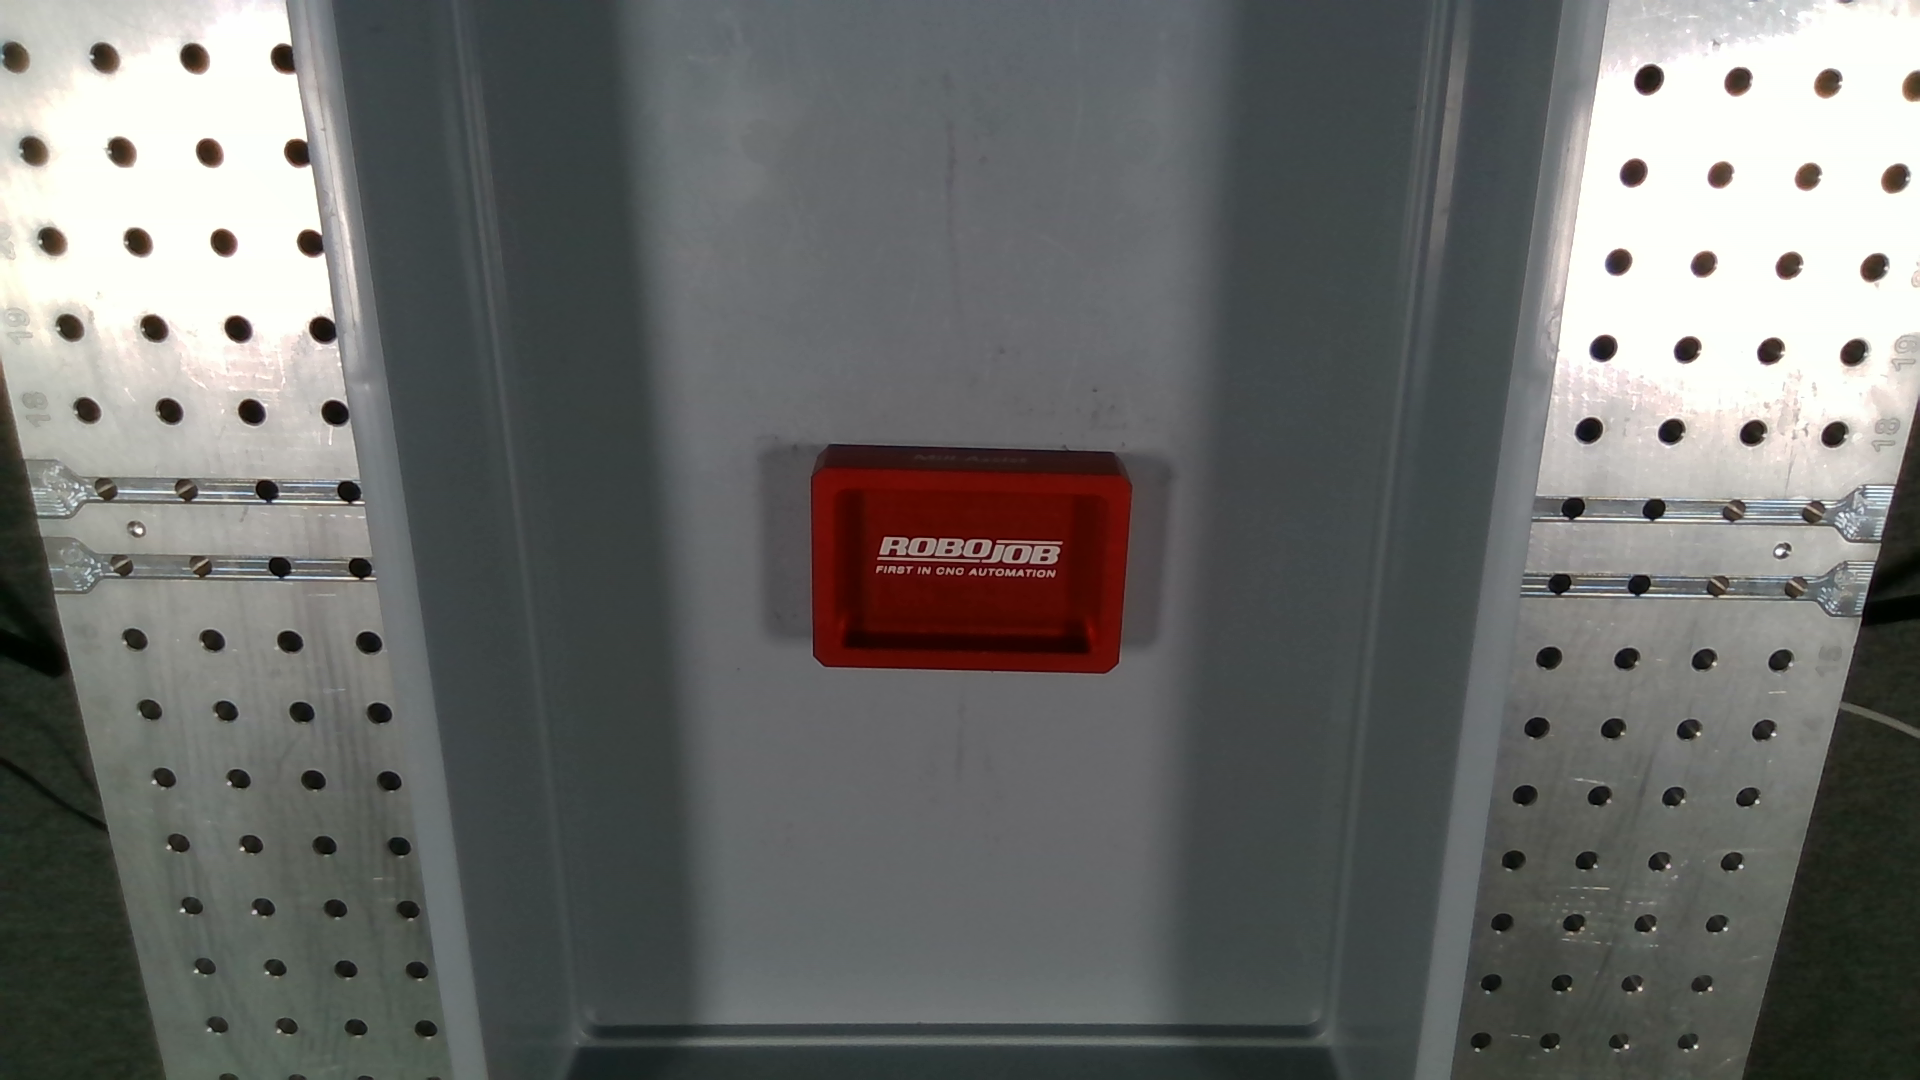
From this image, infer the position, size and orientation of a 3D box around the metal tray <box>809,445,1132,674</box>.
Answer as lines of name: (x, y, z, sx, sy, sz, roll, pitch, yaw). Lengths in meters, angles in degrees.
metal tray: (0.003, 0.008, 0.582, 0.130, 0.030, 0.090, 1, 111, -1)
